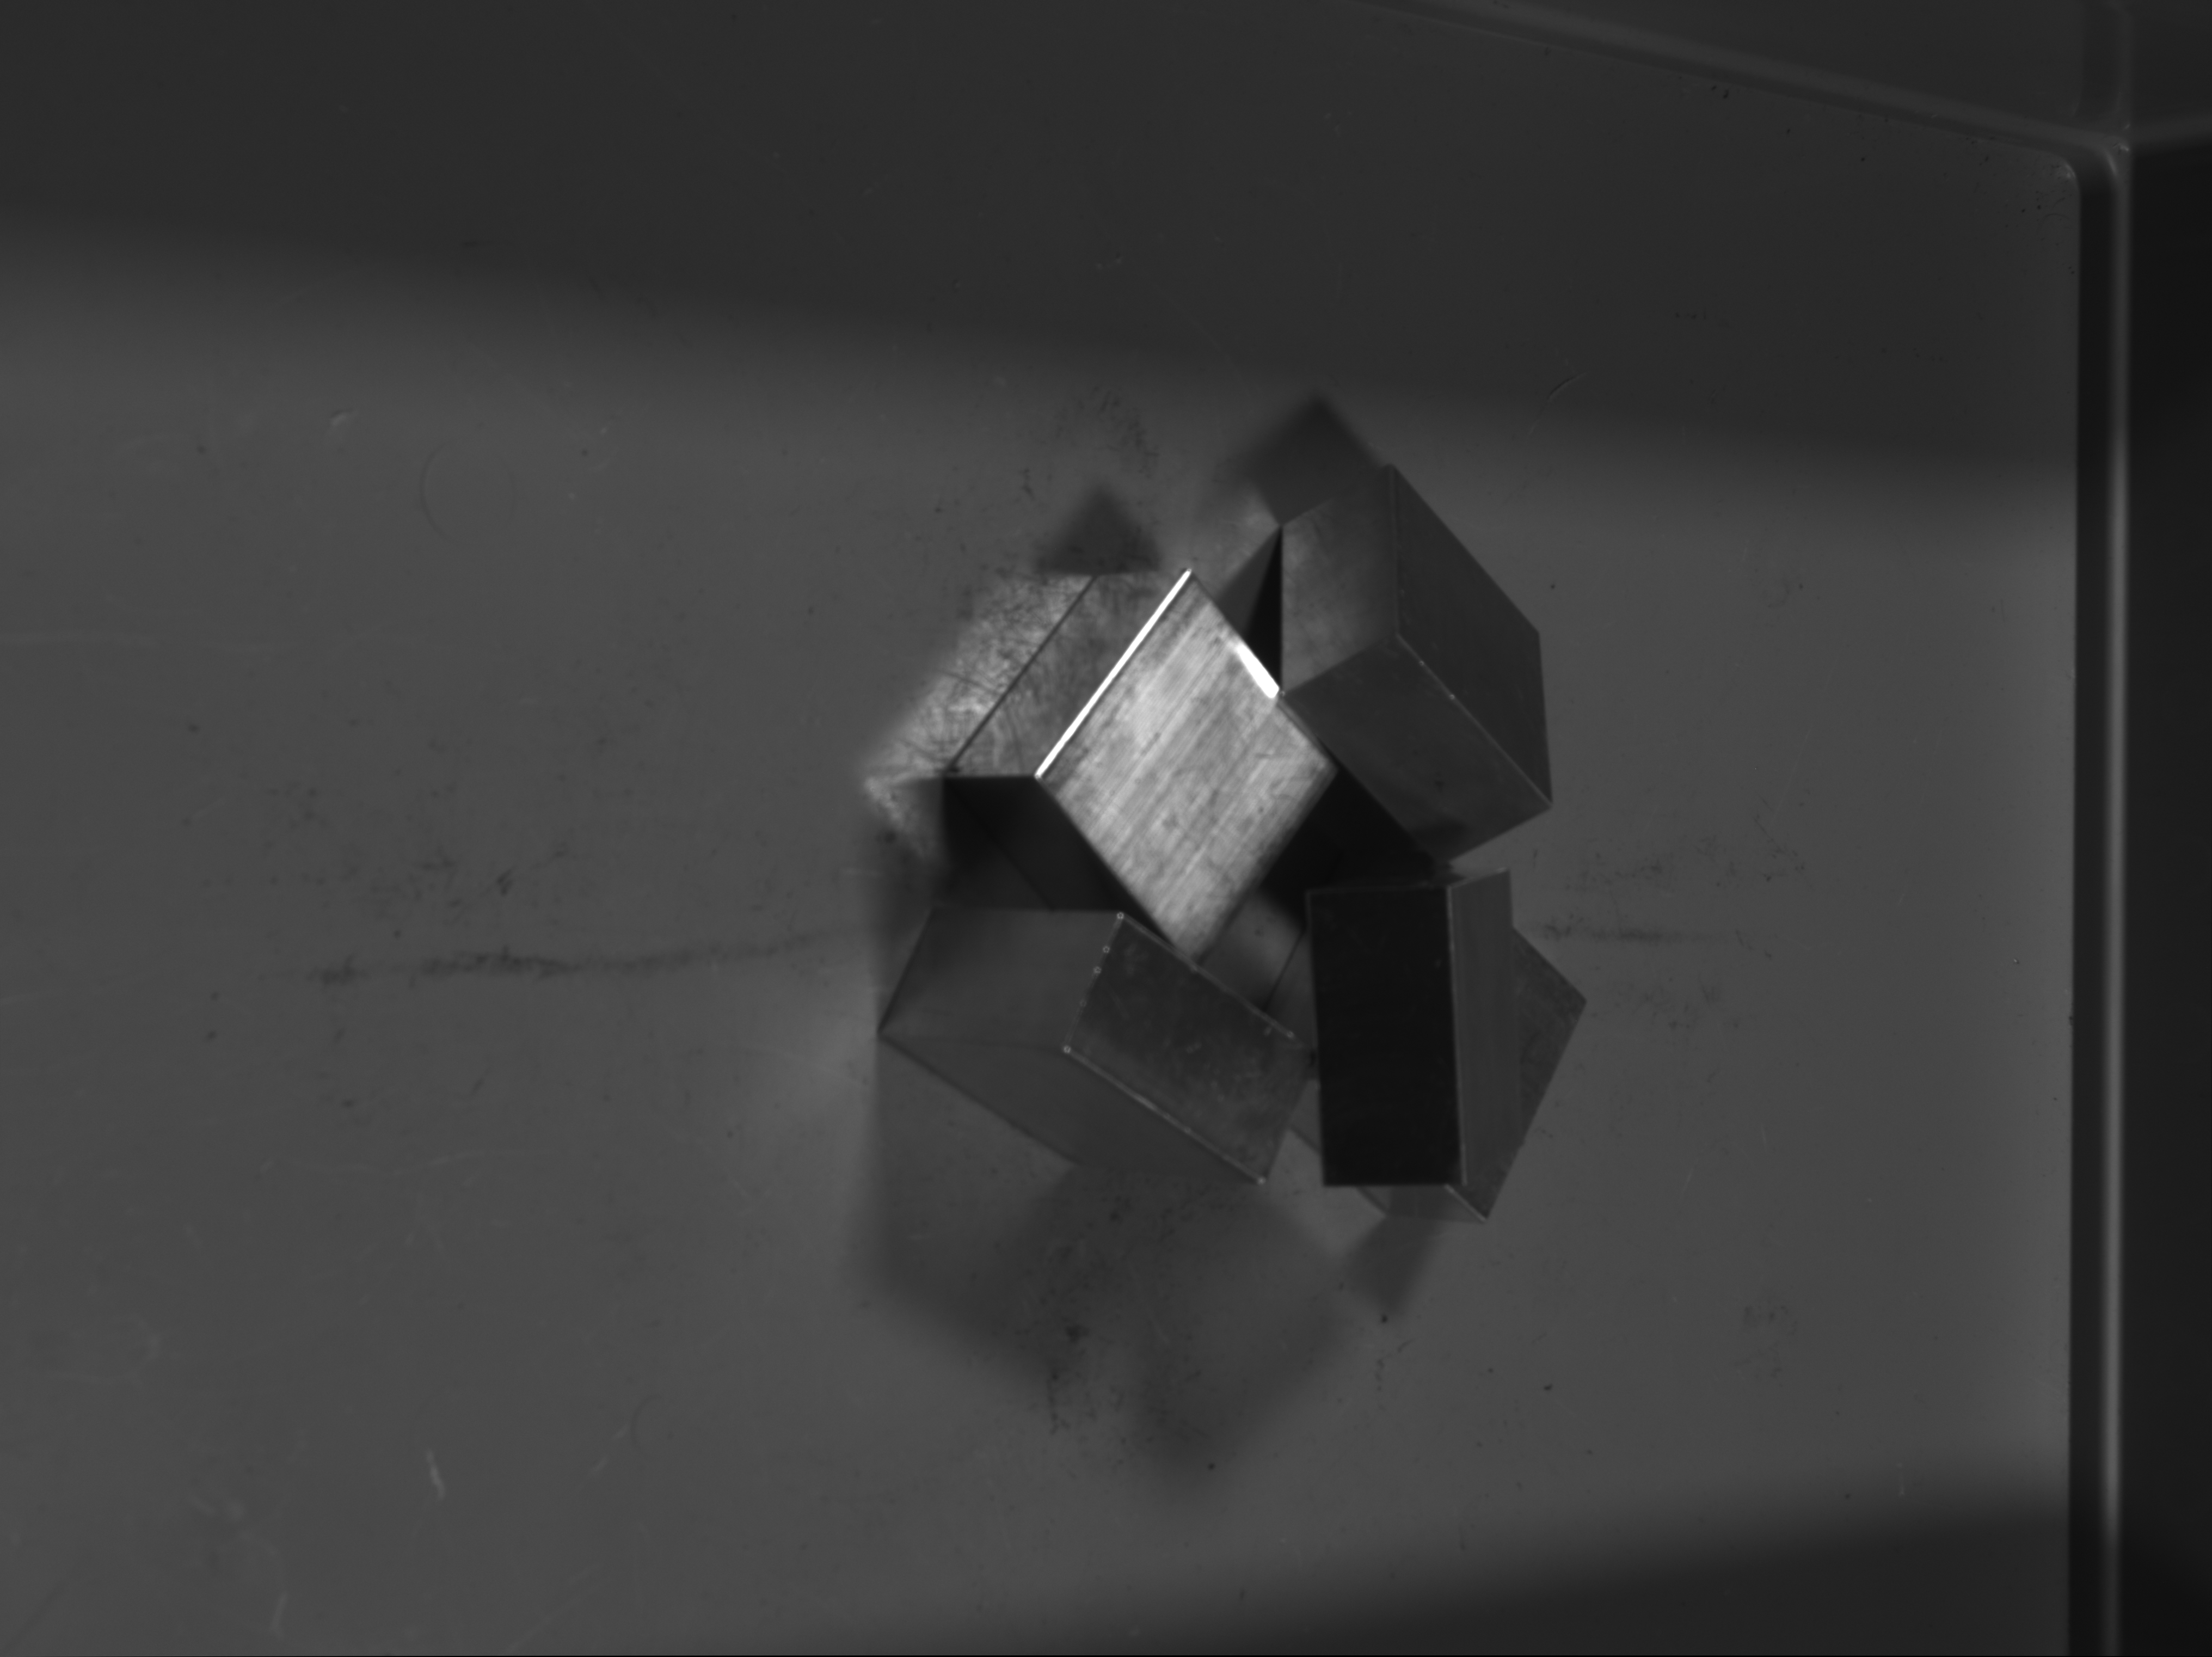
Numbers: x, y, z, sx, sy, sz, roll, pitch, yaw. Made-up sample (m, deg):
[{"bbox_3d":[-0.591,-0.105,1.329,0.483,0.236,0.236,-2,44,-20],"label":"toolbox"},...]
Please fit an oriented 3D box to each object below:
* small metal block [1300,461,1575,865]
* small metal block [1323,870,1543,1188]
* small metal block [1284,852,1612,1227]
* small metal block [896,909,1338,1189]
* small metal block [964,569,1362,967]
[{"bbox_3d":[0.060,-0.030,0.672,0.050,0.025,0.050,45,30,-31],"label":"small metal block"},{"bbox_3d":[0.057,0.034,0.636,0.050,0.025,0.050,-10,97,-72],"label":"small metal block"},{"bbox_3d":[0.062,0.039,0.687,0.050,0.025,0.050,43,64,-31],"label":"small metal block"},{"bbox_3d":[0.002,0.037,0.620,0.050,0.050,0.025,36,68,-34],"label":"small metal block"},{"bbox_3d":[0.011,-0.010,0.643,0.050,0.025,0.050,51,60,-28],"label":"small metal block"}]
